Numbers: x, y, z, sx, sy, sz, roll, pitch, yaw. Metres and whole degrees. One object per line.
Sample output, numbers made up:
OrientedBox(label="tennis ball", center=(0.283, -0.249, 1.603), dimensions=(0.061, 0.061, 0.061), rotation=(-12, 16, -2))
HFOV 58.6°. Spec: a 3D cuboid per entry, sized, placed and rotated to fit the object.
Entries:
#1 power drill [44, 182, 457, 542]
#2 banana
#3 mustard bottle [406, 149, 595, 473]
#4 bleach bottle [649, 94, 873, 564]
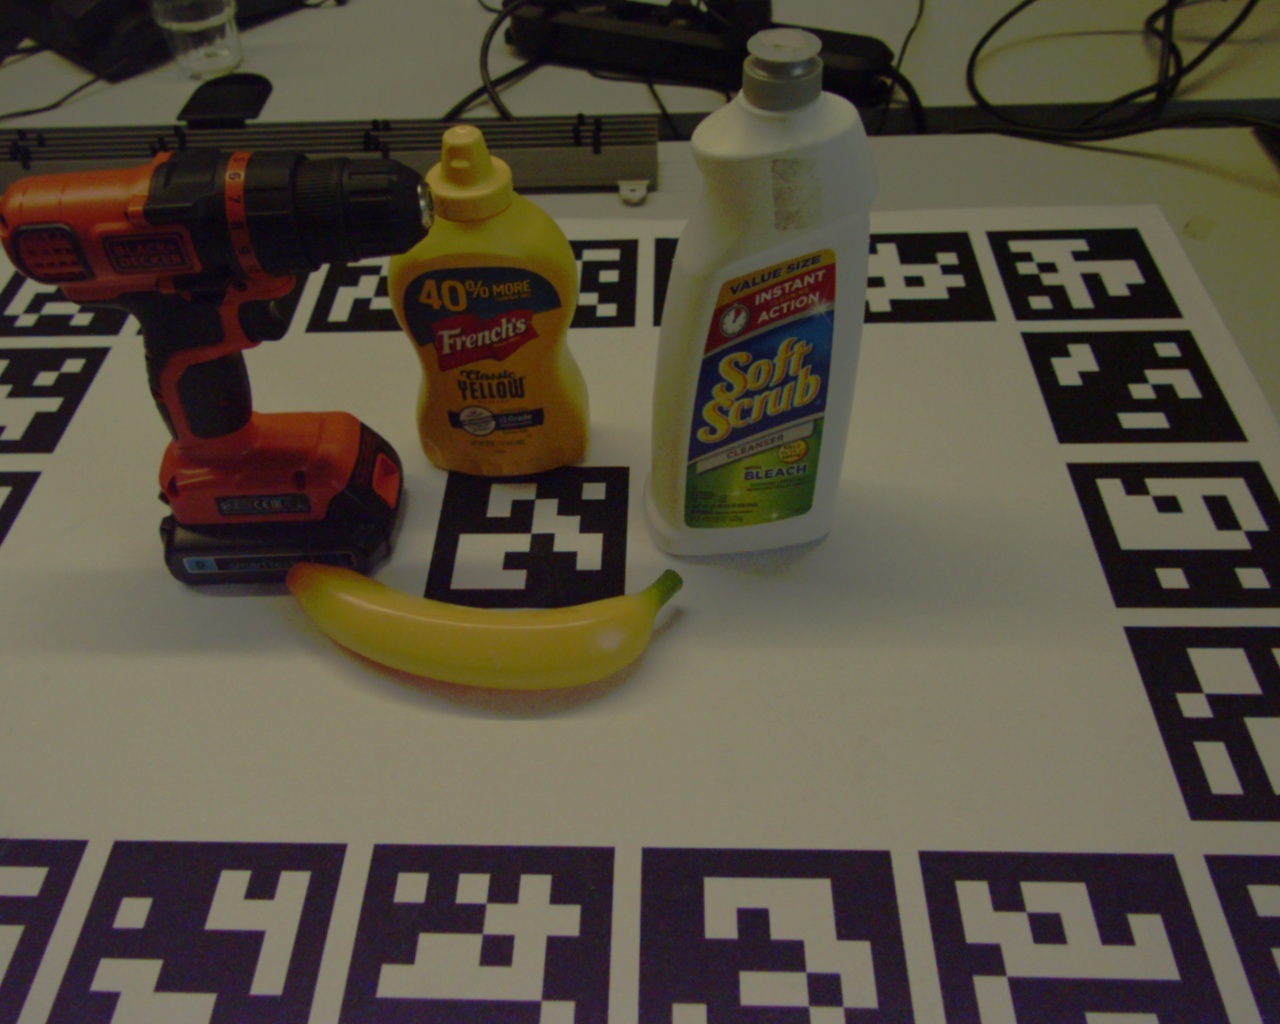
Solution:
OrientedBox(label="power drill", center=(-0.177, -0.072, 0.566), dimensions=(0.184, 0.186, 0.057), rotation=(-1, 40, -2))
OrientedBox(label="banana", center=(-0.069, 0.050, 0.573), dimensions=(0.198, 0.038, 0.074), rotation=(0, 52, 6))
OrientedBox(label="mustard bottle", center=(-0.075, -0.106, 0.616), dimensions=(0.096, 0.191, 0.058), rotation=(0, 47, 1))
OrientedBox(label="bleach bottle", center=(0.054, -0.079, 0.556), dimensions=(0.102, 0.249, 0.068), rotation=(-7, 49, -4))
